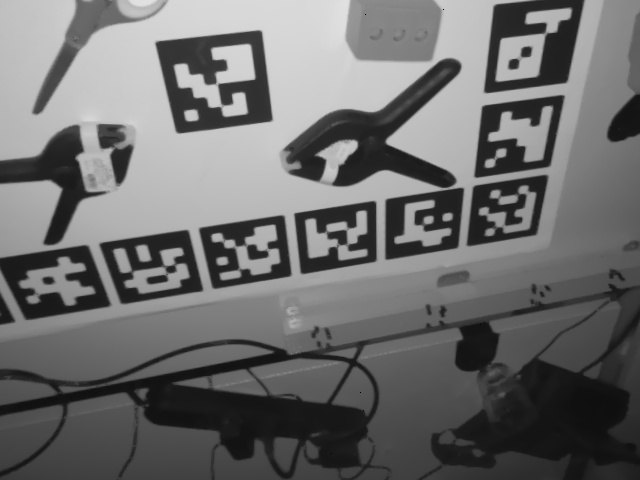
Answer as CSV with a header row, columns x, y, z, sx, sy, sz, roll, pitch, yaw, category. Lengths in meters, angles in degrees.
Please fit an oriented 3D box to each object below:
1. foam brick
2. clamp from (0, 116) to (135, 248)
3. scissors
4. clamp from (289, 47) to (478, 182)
x,y,z,sx,sy,sz,roll,pitch,yaw,category
0.078,-0.218,0.653,0.079,0.051,0.052,-5,127,-15,foam brick
-0.255,-0.072,0.697,0.164,0.037,0.122,-31,121,10,clamp
-0.203,-0.196,0.616,0.088,0.016,0.200,29,118,-22,scissors
0.068,-0.113,0.739,0.203,0.037,0.164,-12,132,-3,clamp
